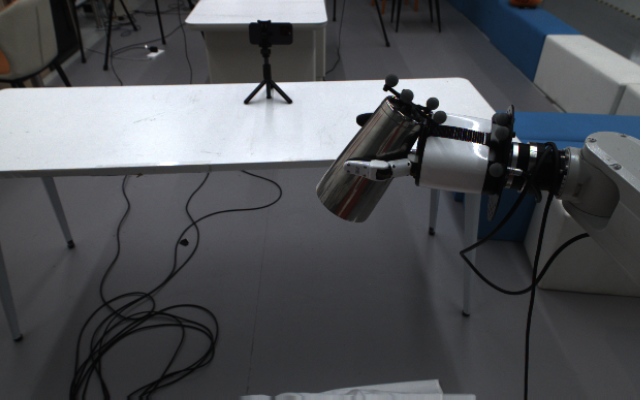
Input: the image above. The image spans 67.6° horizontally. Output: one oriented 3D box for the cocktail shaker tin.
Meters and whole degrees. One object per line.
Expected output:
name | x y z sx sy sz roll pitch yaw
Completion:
cocktail shaker tin | 0.075 -0.065 0.691 0.093 0.170 0.093 26 32 -17
